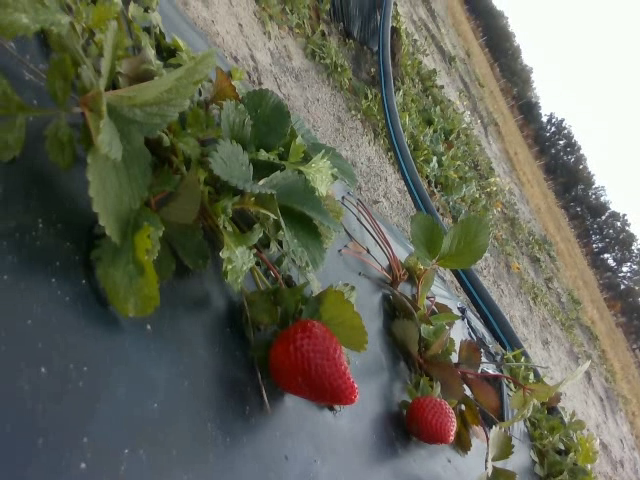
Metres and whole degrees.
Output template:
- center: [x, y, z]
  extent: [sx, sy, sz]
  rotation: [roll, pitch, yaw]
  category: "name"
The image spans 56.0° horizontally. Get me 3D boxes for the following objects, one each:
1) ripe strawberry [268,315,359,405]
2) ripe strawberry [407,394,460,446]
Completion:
- center: [-0.001, 0.063, 0.278]
  extent: [0.046, 0.051, 0.050]
  rotation: [-32, 33, -29]
  category: "ripe strawberry"
- center: [0.078, 0.127, 0.398]
  extent: [0.041, 0.045, 0.052]
  rotation: [-2, 10, -10]
  category: "ripe strawberry"
